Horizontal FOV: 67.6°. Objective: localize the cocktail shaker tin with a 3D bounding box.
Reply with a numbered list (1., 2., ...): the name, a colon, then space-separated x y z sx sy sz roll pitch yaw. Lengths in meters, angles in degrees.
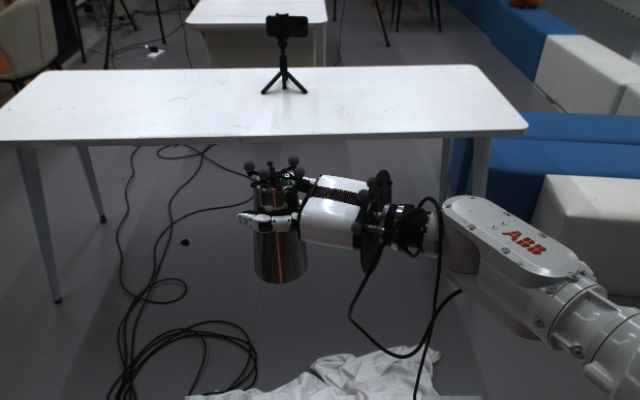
1. cocktail shaker tin: -0.065 0.038 0.787 0.093 0.170 0.093 -1 32 1
